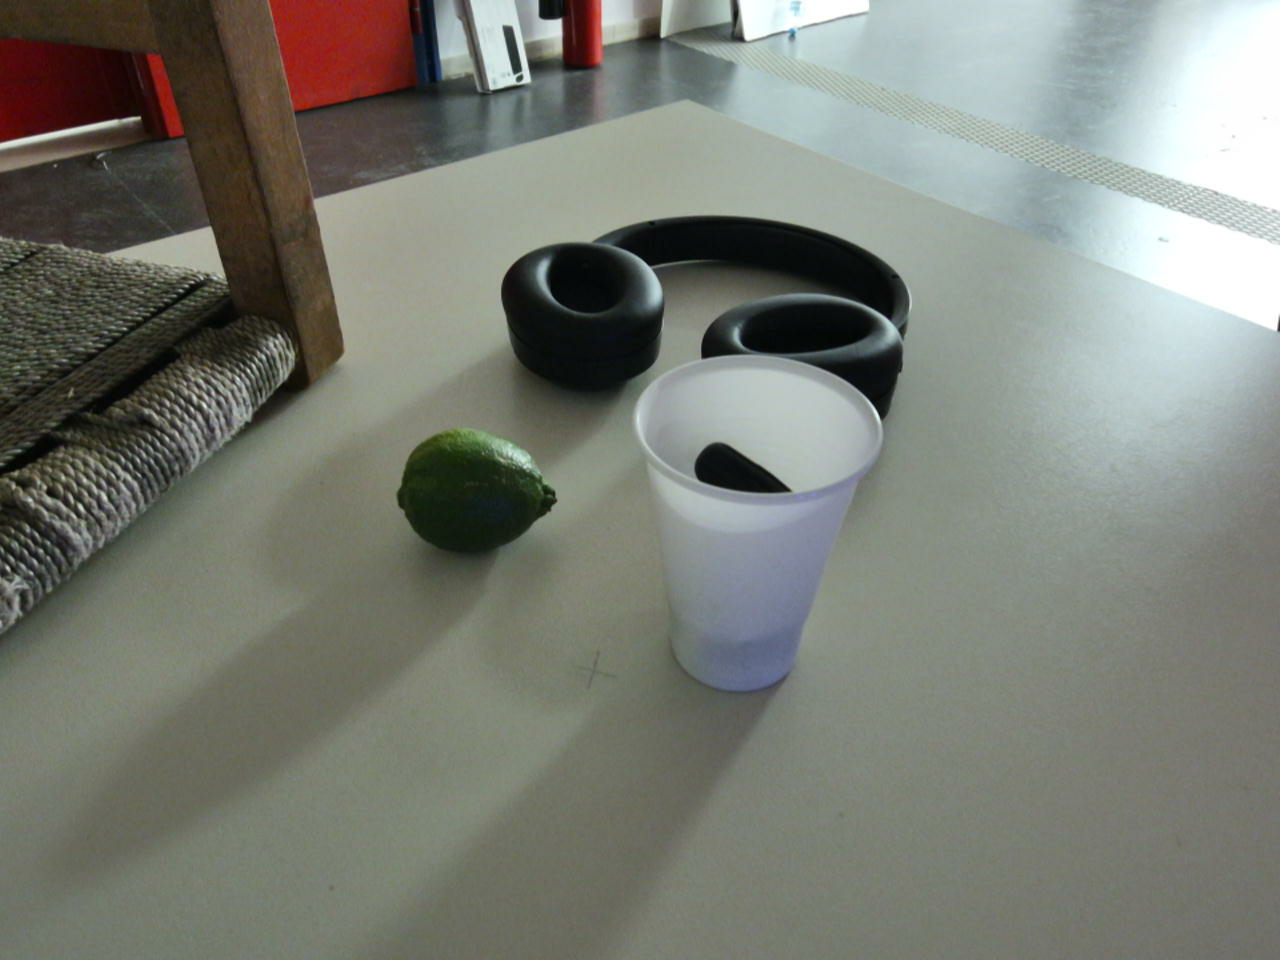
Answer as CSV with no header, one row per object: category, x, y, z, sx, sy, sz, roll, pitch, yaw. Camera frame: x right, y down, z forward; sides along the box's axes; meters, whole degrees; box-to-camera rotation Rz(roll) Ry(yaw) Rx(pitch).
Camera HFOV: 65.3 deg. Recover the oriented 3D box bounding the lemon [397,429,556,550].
lemon,-0.070,0.003,0.411,0.057,0.051,0.054,-29,46,-34
